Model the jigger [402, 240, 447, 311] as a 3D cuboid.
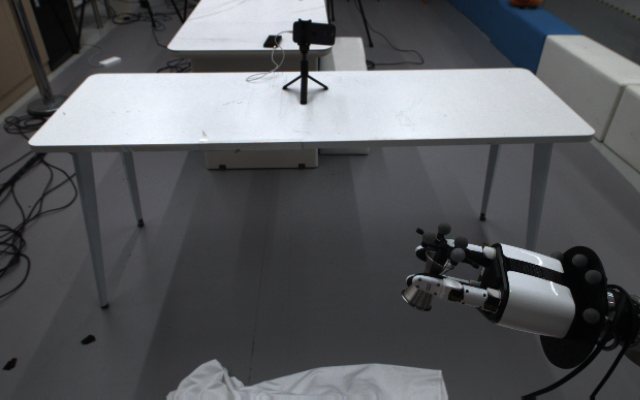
[{"bbox_3d":[0.139,0.104,0.630,0.043,0.071,0.043,23,19,-8],"label":"jigger"}]
